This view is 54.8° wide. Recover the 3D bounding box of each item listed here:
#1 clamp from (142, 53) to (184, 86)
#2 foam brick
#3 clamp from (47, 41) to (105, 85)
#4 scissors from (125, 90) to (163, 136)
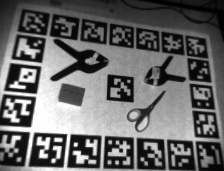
[{"bbox_3d":[0.192,-0.048,0.845,0.166,0.036,0.121,-24,86,-18],"label":"clamp"},{"bbox_3d":[-0.146,0.046,0.730,0.078,0.051,0.052,10,72,-4],"label":"foam brick"},{"bbox_3d":[-0.128,-0.081,0.781,0.204,0.036,0.165,1,69,-13],"label":"clamp"},{"bbox_3d":[0.128,0.086,0.790,0.088,0.016,0.203,44,67,-4],"label":"scissors"}]
